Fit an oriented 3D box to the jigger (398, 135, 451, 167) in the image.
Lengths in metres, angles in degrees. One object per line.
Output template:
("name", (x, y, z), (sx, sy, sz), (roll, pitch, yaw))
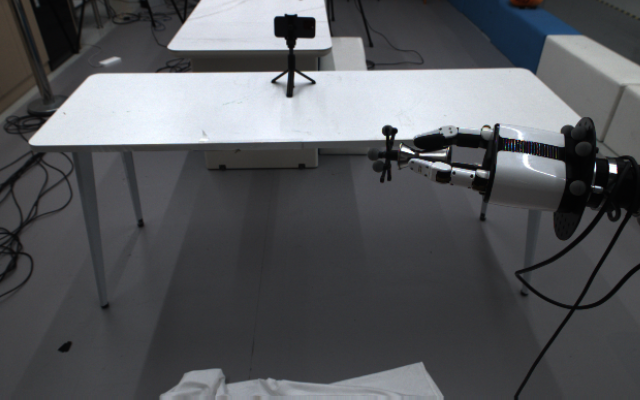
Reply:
("jigger", (0.152, -0.065, 0.675), (0.071, 0.043, 0.043), (6, 34, 21))
